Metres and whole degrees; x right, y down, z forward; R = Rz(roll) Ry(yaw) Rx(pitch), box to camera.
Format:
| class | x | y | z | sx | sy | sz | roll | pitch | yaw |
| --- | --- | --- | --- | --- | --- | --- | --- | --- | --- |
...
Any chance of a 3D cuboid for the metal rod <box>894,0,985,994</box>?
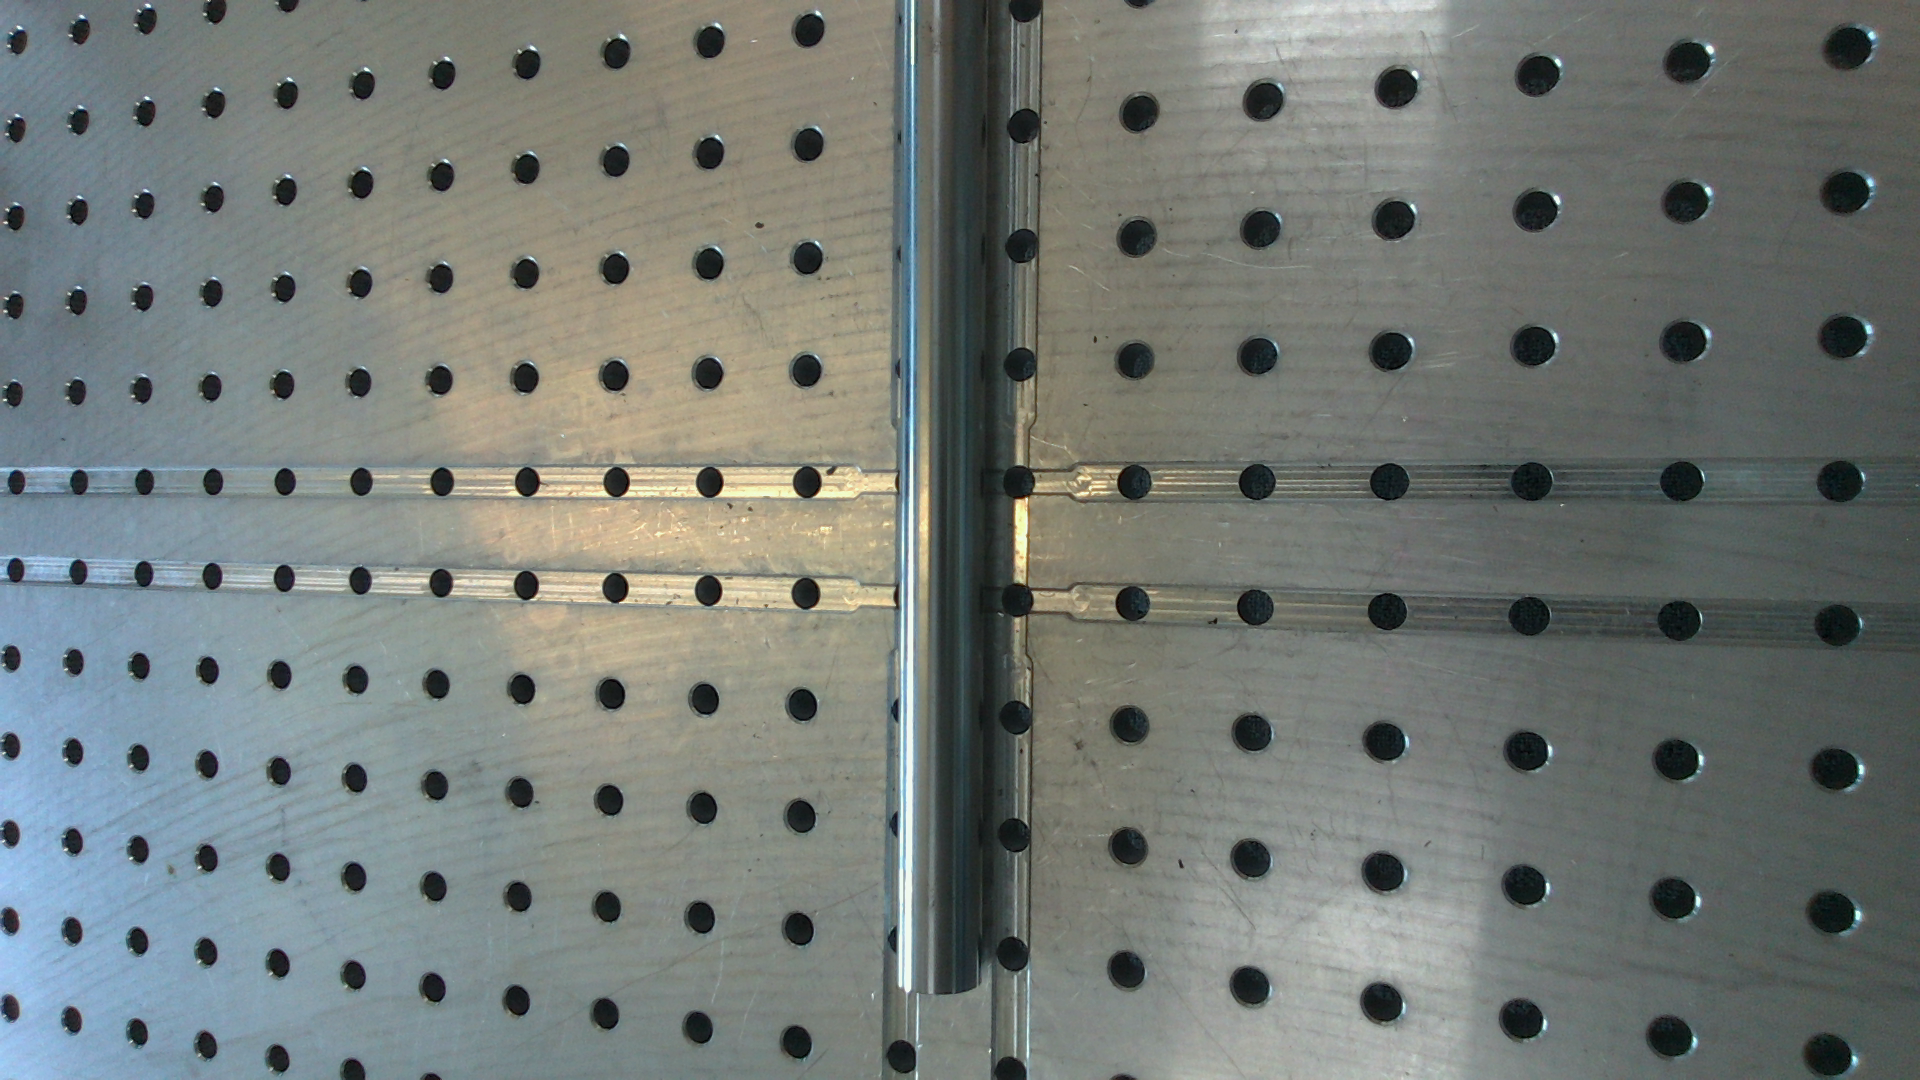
| class | x | y | z | sx | sy | sz | roll | pitch | yaw |
| --- | --- | --- | --- | --- | --- | --- | --- | --- | --- |
| metal rod | -0.006 | -0.021 | 0.401 | 0.025 | 0.025 | 0.300 | 0 | 90 | 20 |
